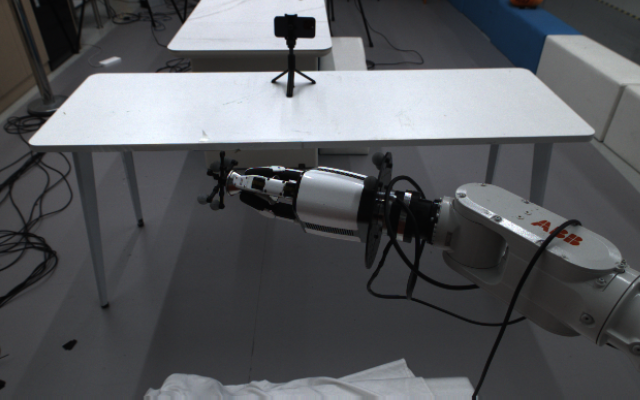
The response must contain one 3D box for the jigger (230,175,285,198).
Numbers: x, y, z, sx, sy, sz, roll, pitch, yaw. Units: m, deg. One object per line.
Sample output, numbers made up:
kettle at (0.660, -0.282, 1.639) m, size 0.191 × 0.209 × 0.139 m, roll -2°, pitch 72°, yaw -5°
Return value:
jigger at (-0.090, -0.023, 0.697) m, size 0.071 × 0.043 × 0.043 m, roll 10°, pitch 35°, yaw 16°
